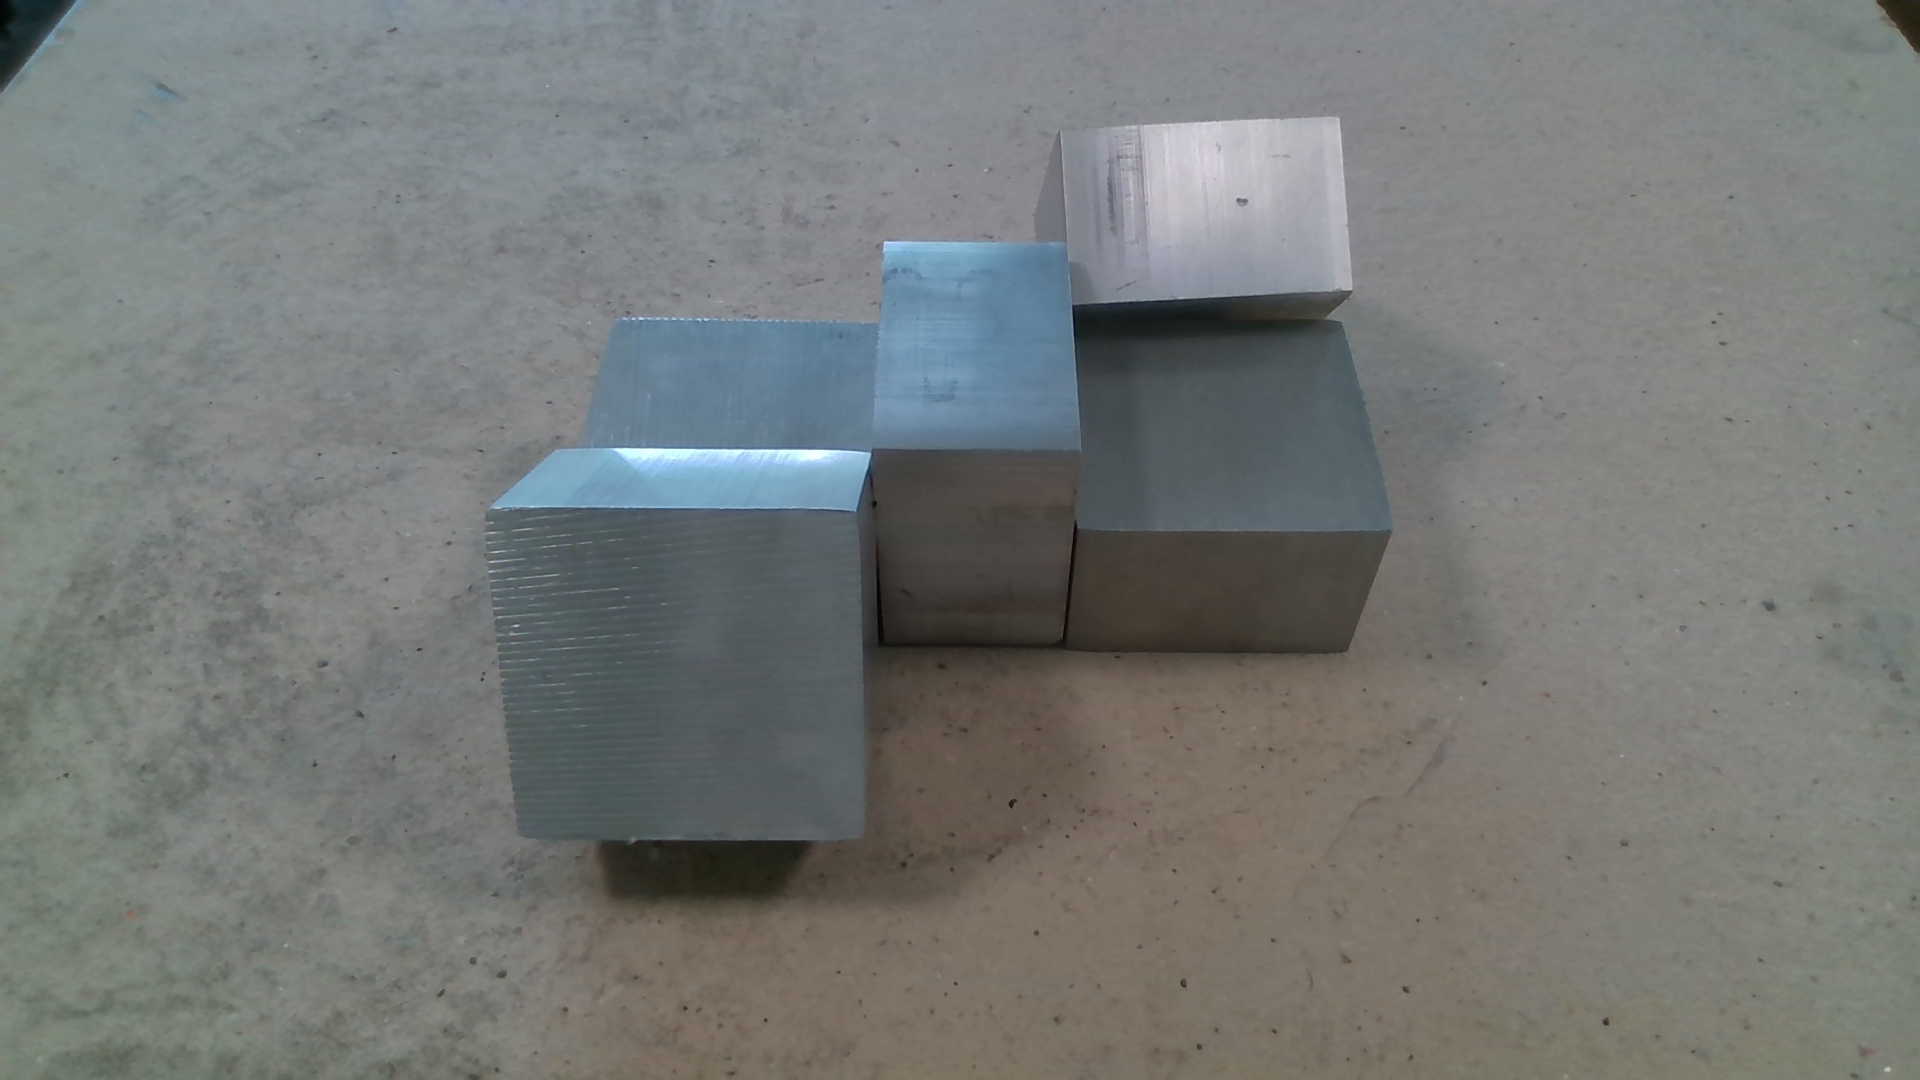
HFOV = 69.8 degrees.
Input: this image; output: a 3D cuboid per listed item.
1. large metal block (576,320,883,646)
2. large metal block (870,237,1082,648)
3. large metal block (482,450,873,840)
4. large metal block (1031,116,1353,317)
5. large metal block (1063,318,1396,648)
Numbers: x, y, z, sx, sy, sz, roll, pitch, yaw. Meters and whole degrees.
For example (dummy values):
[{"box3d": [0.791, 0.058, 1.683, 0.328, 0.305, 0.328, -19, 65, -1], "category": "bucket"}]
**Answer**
[{"box3d": [-0.061, -0.017, 0.392, 0.080, 0.050, 0.080, 0, 50, 1], "category": "large metal block"}, {"box3d": [0.004, -0.026, 0.380, 0.050, 0.080, 0.080, 0, 50, 0], "category": "large metal block"}, {"box3d": [-0.062, 0.023, 0.329, 0.080, 0.080, 0.050, 0, 18, 0], "category": "large metal block"}, {"box3d": [0.066, -0.088, 0.422, 0.080, 0.080, 0.050, -3, 84, -2], "category": "large metal block"}, {"box3d": [0.069, -0.017, 0.389, 0.080, 0.050, 0.080, 1, 50, 0], "category": "large metal block"}]
